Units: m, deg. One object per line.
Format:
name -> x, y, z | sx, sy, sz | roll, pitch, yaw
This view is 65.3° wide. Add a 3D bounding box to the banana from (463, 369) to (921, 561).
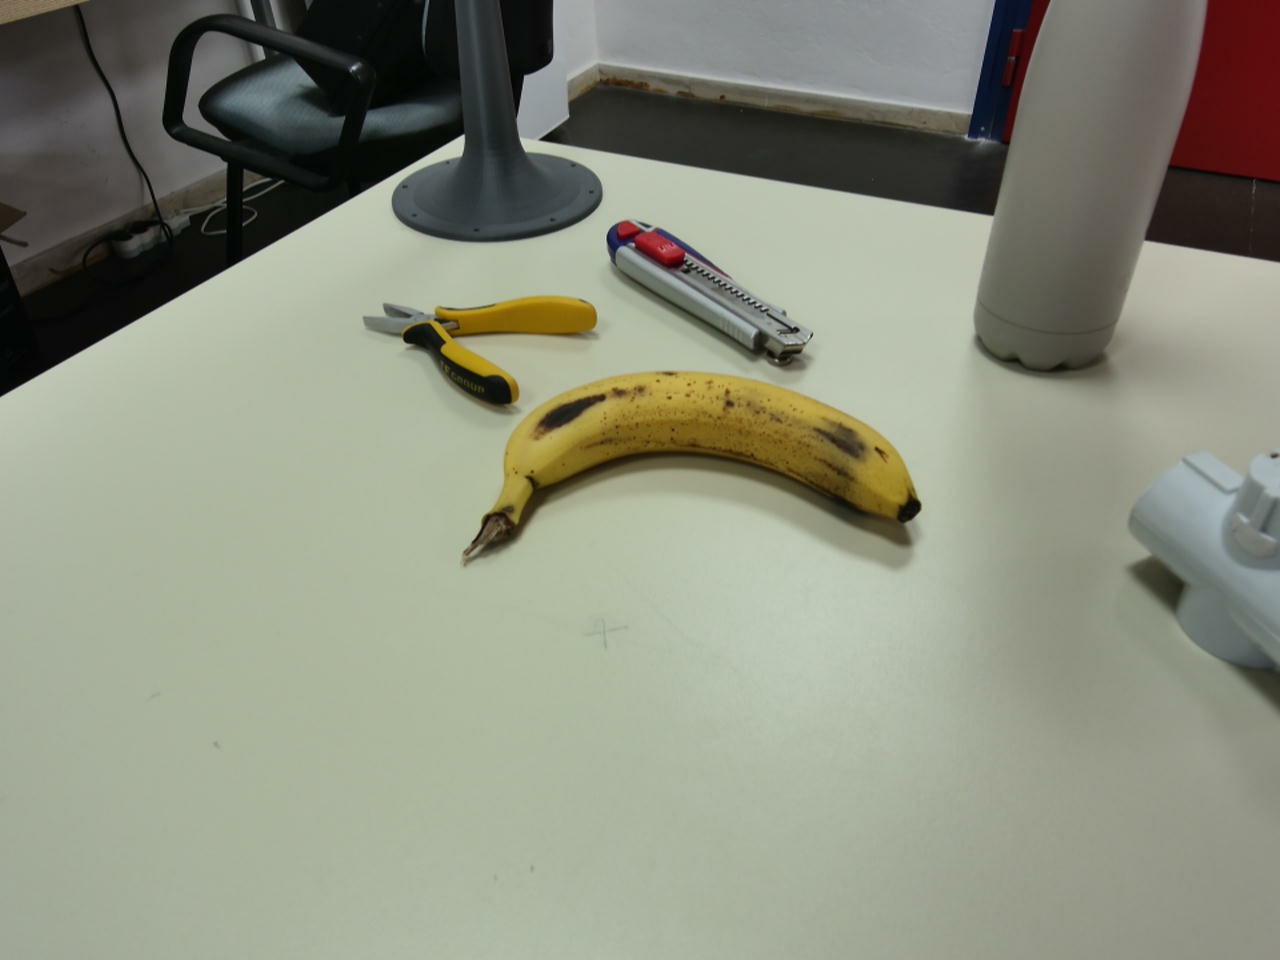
banana -> 0.023, -0.014, 0.447 | 0.186, 0.038, 0.097 | -1, 37, 0
